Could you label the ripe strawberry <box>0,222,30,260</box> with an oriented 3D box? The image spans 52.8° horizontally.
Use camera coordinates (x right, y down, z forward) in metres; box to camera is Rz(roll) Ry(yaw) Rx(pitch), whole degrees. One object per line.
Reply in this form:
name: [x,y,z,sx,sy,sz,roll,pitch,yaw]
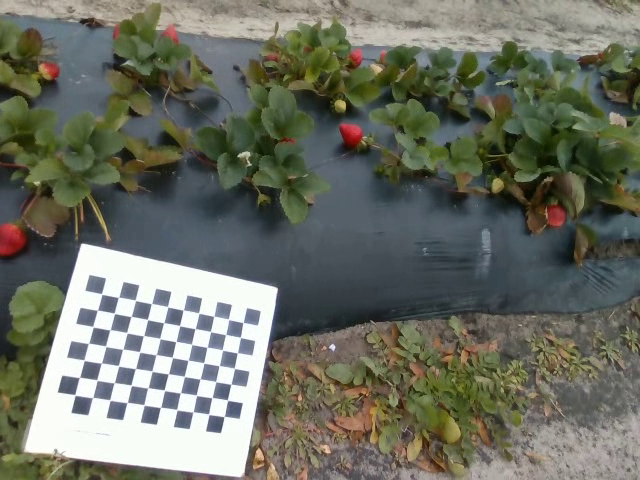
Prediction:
ripe strawberry: [-0.281,0.001,0.567,0.028,0.033,0.022,27,-23,-9]
